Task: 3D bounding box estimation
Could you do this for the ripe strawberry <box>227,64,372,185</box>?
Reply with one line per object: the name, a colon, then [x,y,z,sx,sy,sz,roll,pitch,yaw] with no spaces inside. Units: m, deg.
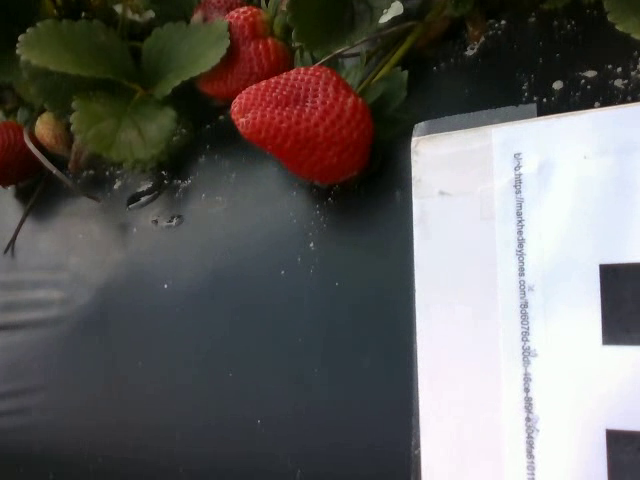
ripe strawberry: [-0.012,-0.048,0.255,0.064,0.056,0.057,-16,-31,-50]
